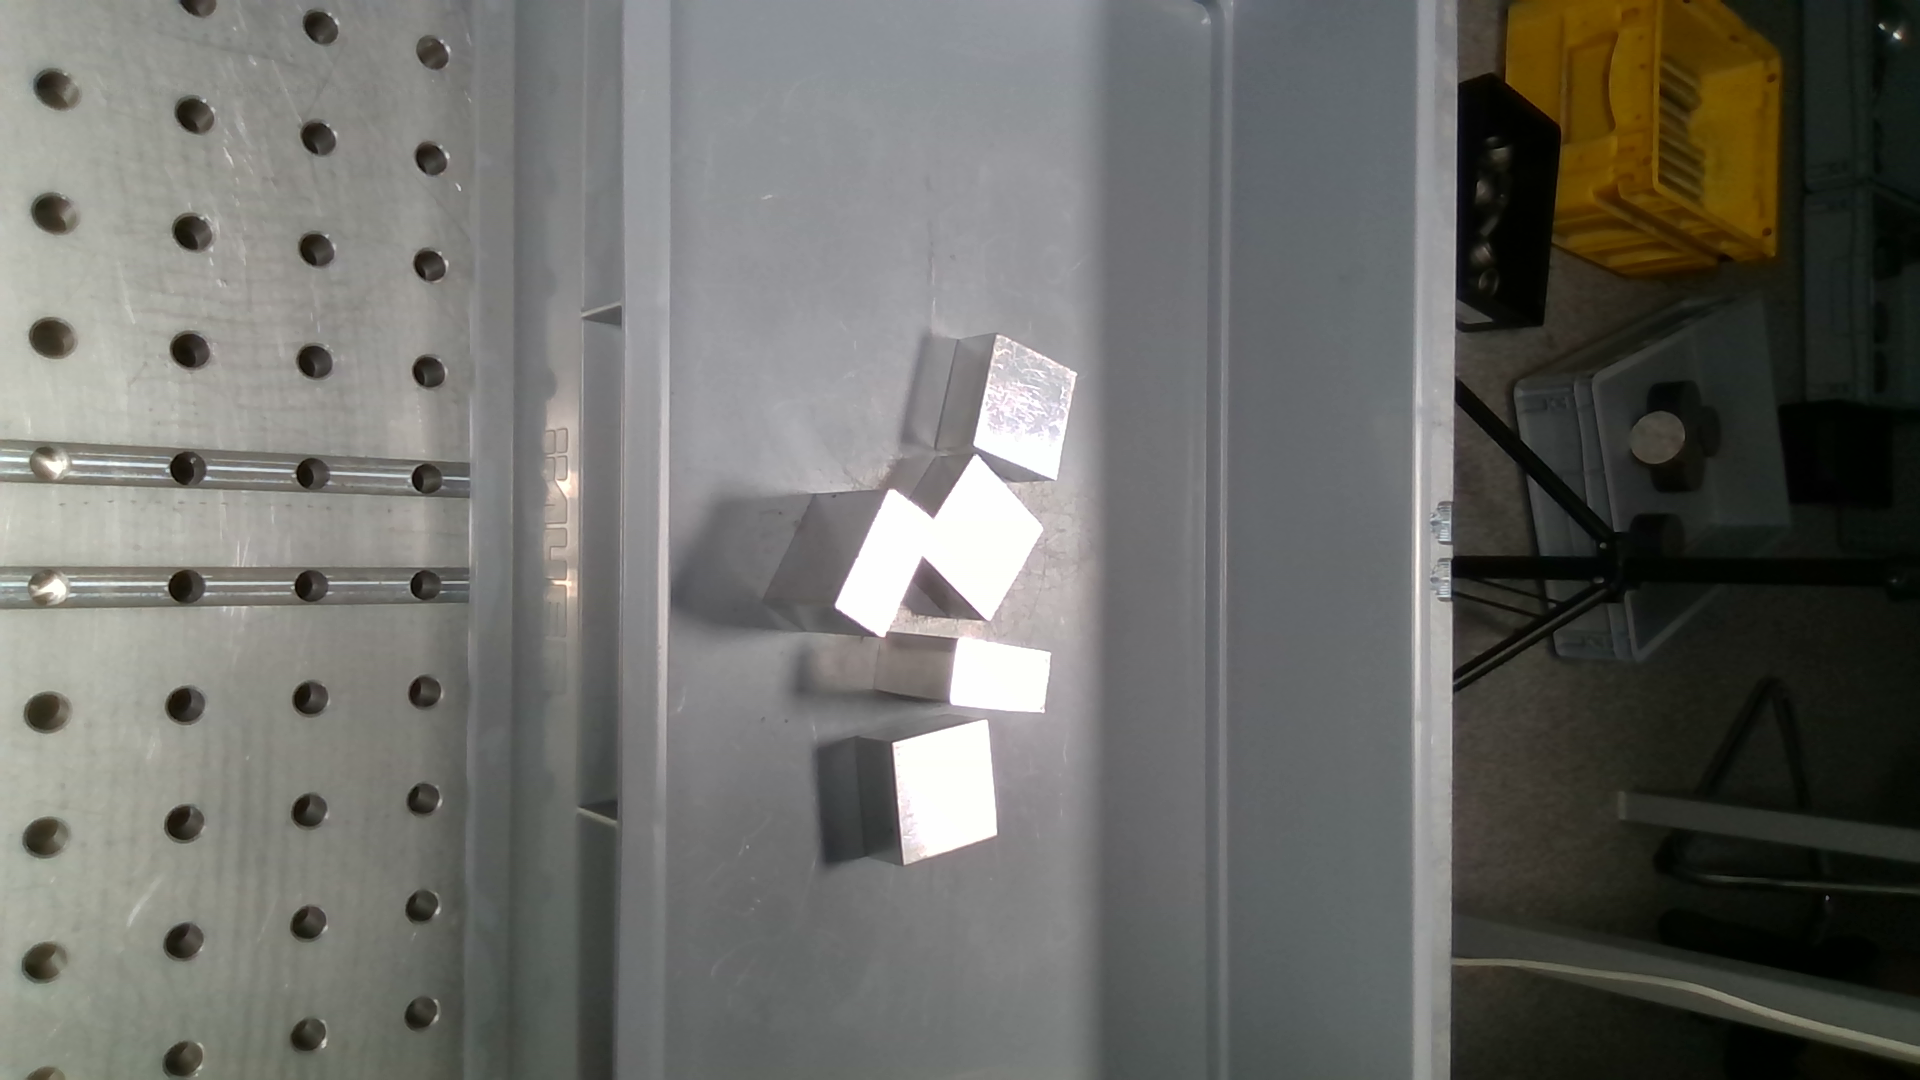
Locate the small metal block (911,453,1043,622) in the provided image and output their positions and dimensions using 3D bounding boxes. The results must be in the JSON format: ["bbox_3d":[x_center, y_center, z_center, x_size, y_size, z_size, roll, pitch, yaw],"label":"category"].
[{"bbox_3d":[0.001,-0.001,0.581,0.050,0.025,0.050,46,62,-30],"label":"small metal block"}]

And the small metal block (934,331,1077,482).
[{"bbox_3d":[0.020,-0.057,0.598,0.050,0.025,0.050,19,78,-39],"label":"small metal block"}]

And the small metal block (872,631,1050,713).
[{"bbox_3d":[0.000,0.054,0.565,0.050,0.050,0.025,12,83,-40],"label":"small metal block"}]

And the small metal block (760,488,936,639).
[{"bbox_3d":[-0.043,0.009,0.528,0.025,0.050,0.050,37,68,-33],"label":"small metal block"}]

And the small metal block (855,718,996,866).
[{"bbox_3d":[-0.014,0.102,0.569,0.050,0.025,0.050,-8,95,-40],"label":"small metal block"}]
